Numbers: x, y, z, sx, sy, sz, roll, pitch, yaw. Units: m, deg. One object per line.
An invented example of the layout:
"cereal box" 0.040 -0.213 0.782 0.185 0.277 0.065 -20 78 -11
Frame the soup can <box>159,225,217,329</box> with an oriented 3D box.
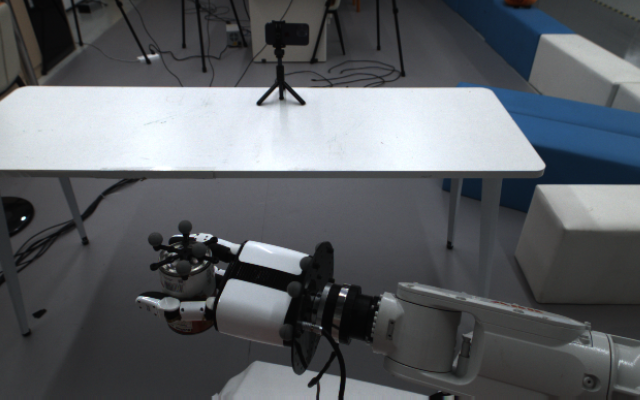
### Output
"soup can" -0.165 0.113 0.614 0.067 0.101 0.067 2 32 -1
